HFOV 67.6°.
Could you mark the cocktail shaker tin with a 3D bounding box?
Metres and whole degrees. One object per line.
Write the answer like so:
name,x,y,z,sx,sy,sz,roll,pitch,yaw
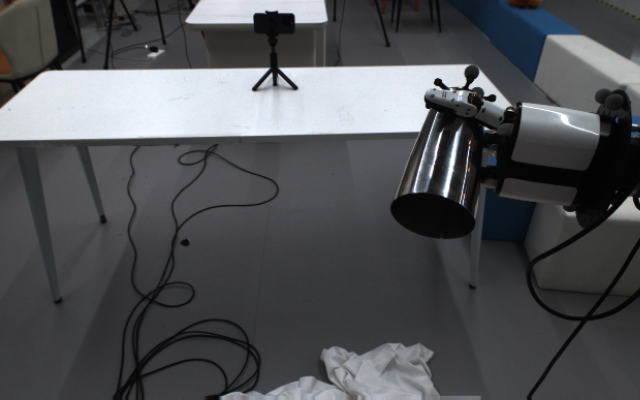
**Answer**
cocktail shaker tin,0.149,-0.053,0.570,0.093,0.093,0.170,13,59,16
